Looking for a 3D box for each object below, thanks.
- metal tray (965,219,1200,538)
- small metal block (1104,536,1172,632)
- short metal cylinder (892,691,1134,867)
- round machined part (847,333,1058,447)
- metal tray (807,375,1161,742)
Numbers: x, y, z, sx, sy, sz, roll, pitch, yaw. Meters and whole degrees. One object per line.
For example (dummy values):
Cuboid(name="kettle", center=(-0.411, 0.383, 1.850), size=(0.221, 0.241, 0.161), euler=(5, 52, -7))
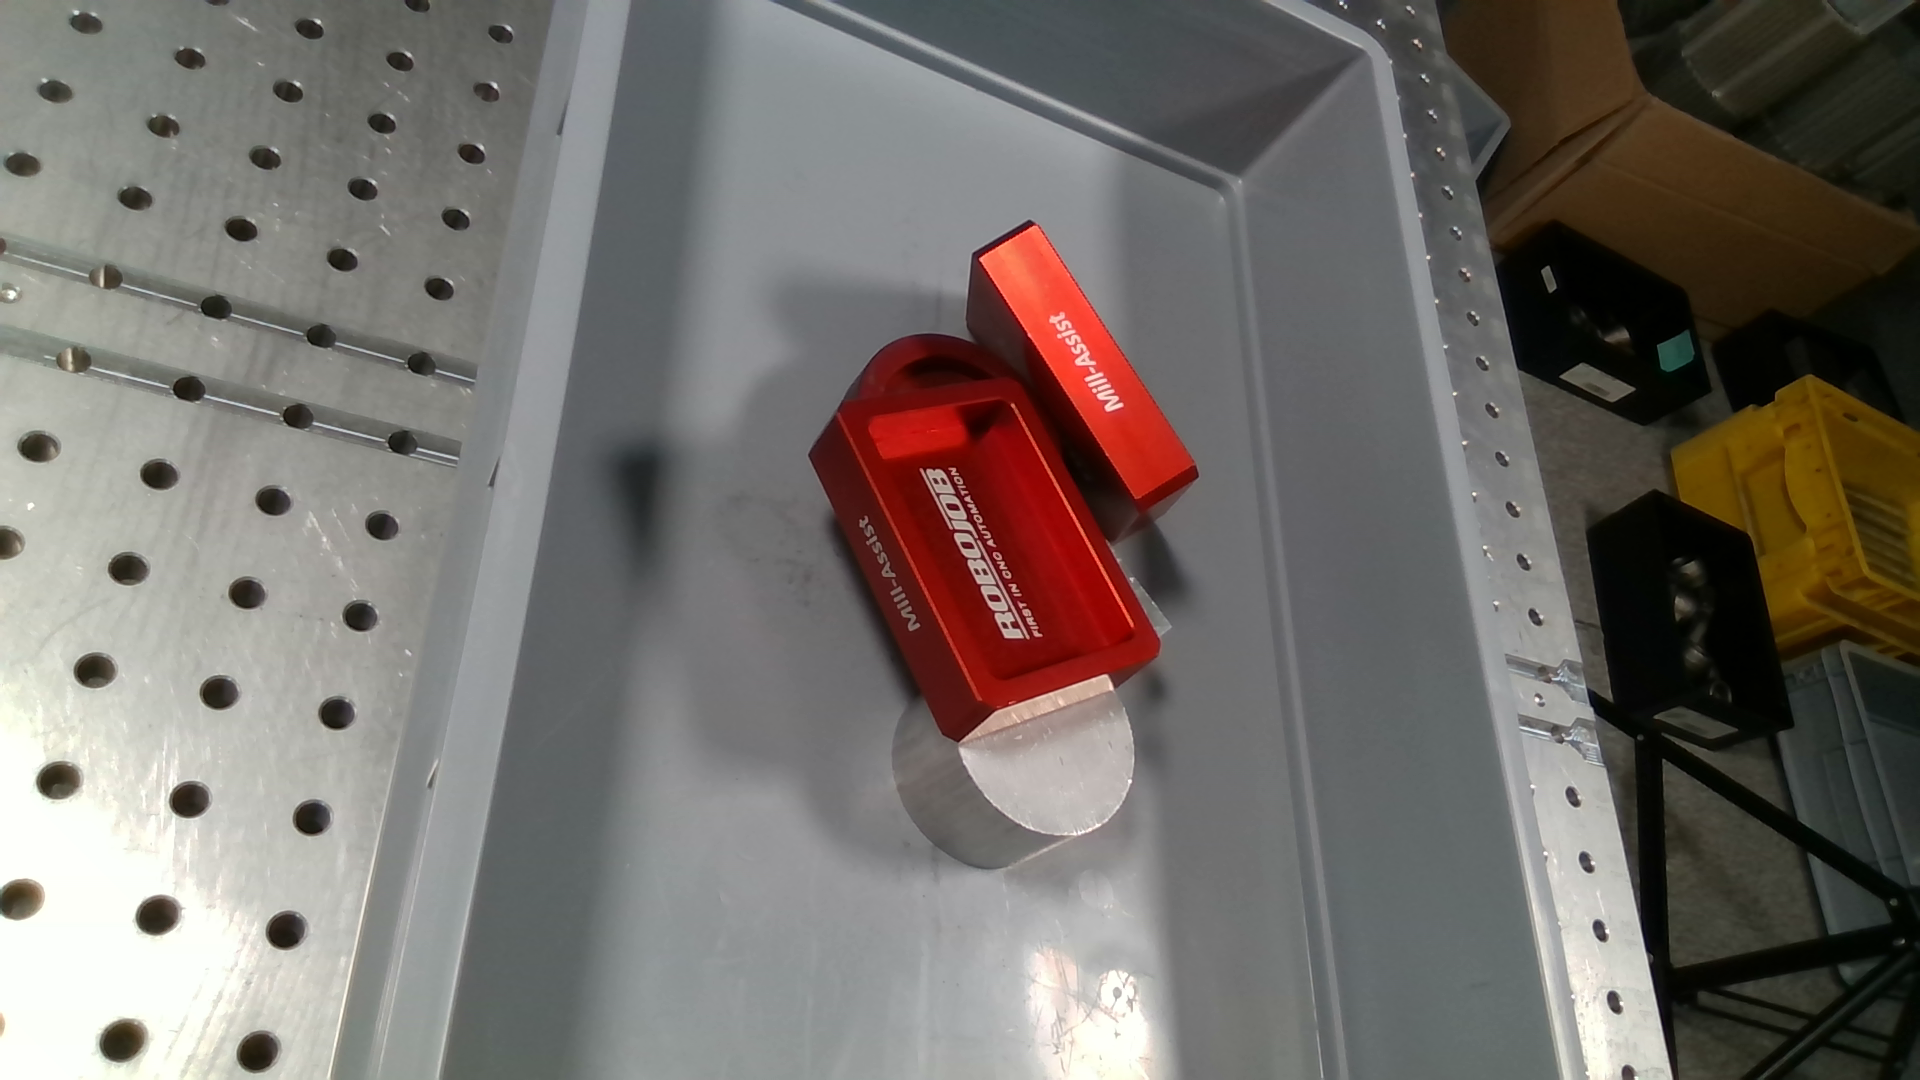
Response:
Cuboid(name="metal tray", center=(0.050, -0.066, 0.606), size=(0.030, 0.090, 0.130), euler=(-31, 83, -7))
Cuboid(name="small metal block", center=(0.053, 0.032, 0.583), size=(0.025, 0.050, 0.050), euler=(-35, 87, -39))
Cuboid(name="short metal cylinder", center=(0.020, 0.082, 0.536), size=(0.080, 0.050, 0.080), euler=(14, 59, -25))
Cuboid(name="round machined part", center=(-0.009, -0.036, 0.589), size=(0.098, 0.042, 0.098), euler=(14, 59, -25))
Cuboid(name="metal tray", center=(0.009, 0.003, 0.524), size=(0.090, 0.030, 0.130), euler=(-14, 68, -37))
